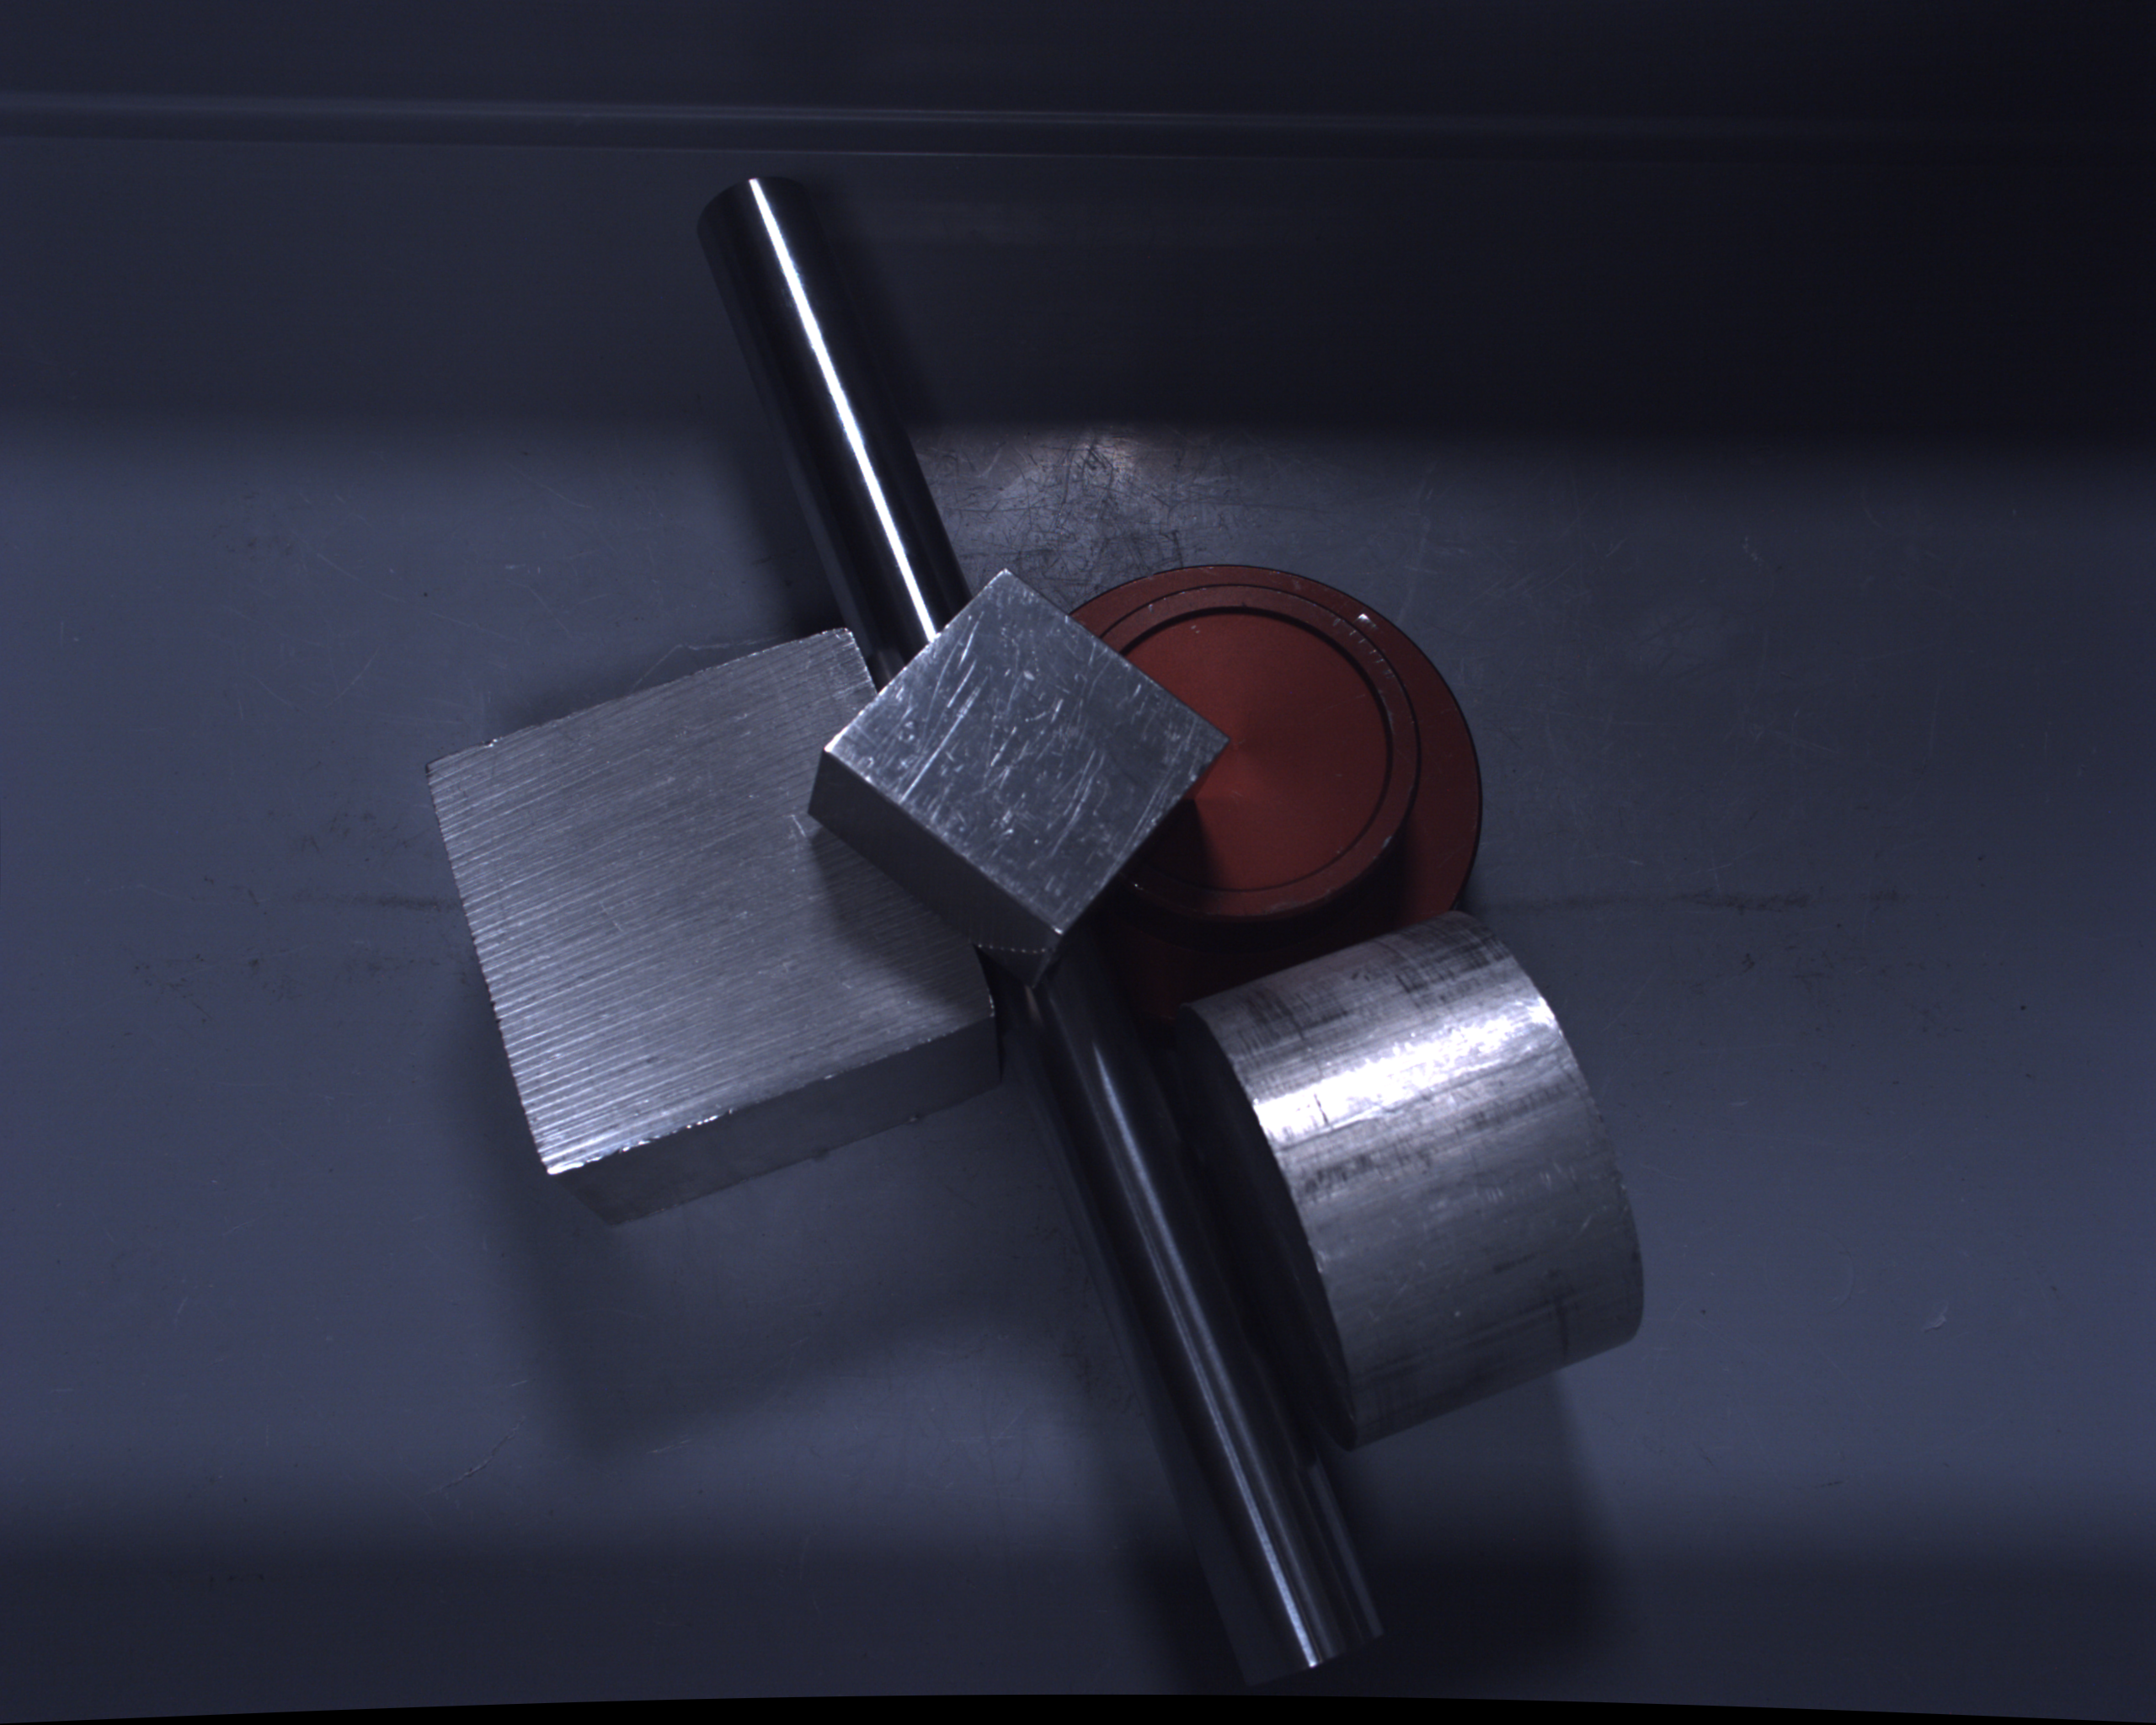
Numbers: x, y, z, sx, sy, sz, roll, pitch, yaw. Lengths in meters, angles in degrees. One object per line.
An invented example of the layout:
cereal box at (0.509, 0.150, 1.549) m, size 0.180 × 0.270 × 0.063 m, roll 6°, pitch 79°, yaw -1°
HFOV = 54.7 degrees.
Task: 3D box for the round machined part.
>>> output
round machined part at (0.030, -0.015, 0.404) m, size 0.099 × 0.042 × 0.098 m, roll 0°, pitch 70°, yaw -1°

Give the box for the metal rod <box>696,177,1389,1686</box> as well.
metal rod at (-0.014, -0.002, 0.386) m, size 0.025 × 0.025 × 0.299 m, roll -20°, pitch 71°, yaw -7°

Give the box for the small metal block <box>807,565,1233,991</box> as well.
small metal block at (-0.010, -0.015, 0.362) m, size 0.050 × 0.025 × 0.050 m, roll 38°, pitch 63°, yaw 5°

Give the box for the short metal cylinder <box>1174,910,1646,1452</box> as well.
short metal cylinder at (0.055, 0.054, 0.360) m, size 0.050 × 0.080 × 0.080 m, roll -20°, pitch 72°, yaw -7°

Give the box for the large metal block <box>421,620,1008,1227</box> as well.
large metal block at (-0.065, 0.012, 0.387) m, size 0.081 × 0.050 × 0.080 m, roll -19°, pitch 71°, yaw -7°
